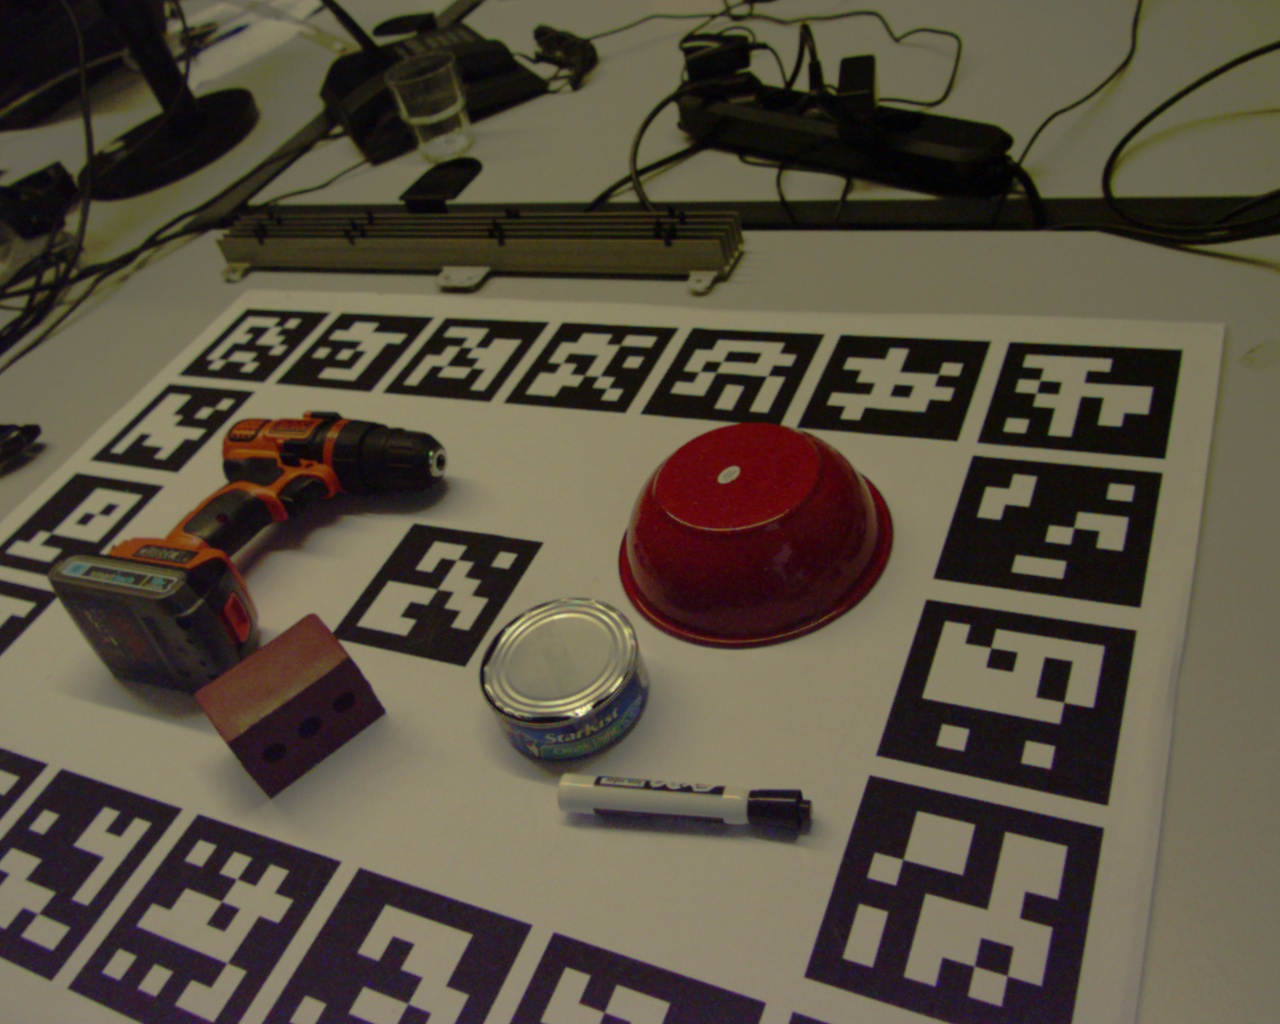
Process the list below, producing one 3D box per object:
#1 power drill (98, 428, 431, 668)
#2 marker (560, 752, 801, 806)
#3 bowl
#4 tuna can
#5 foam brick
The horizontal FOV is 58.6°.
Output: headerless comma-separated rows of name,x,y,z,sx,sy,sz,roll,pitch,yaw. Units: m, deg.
power drill,-0.257,0.016,0.777,0.186,0.057,0.186,8,45,22
marker,0.019,0.133,0.569,0.122,0.019,0.019,-1,46,19
bowl,0.053,-0.002,0.692,0.162,0.055,0.162,-12,34,7
tuna can,-0.040,0.083,0.635,0.086,0.033,0.086,-9,43,8
foam brick,-0.194,0.110,0.660,0.077,0.052,0.052,-41,47,-22
